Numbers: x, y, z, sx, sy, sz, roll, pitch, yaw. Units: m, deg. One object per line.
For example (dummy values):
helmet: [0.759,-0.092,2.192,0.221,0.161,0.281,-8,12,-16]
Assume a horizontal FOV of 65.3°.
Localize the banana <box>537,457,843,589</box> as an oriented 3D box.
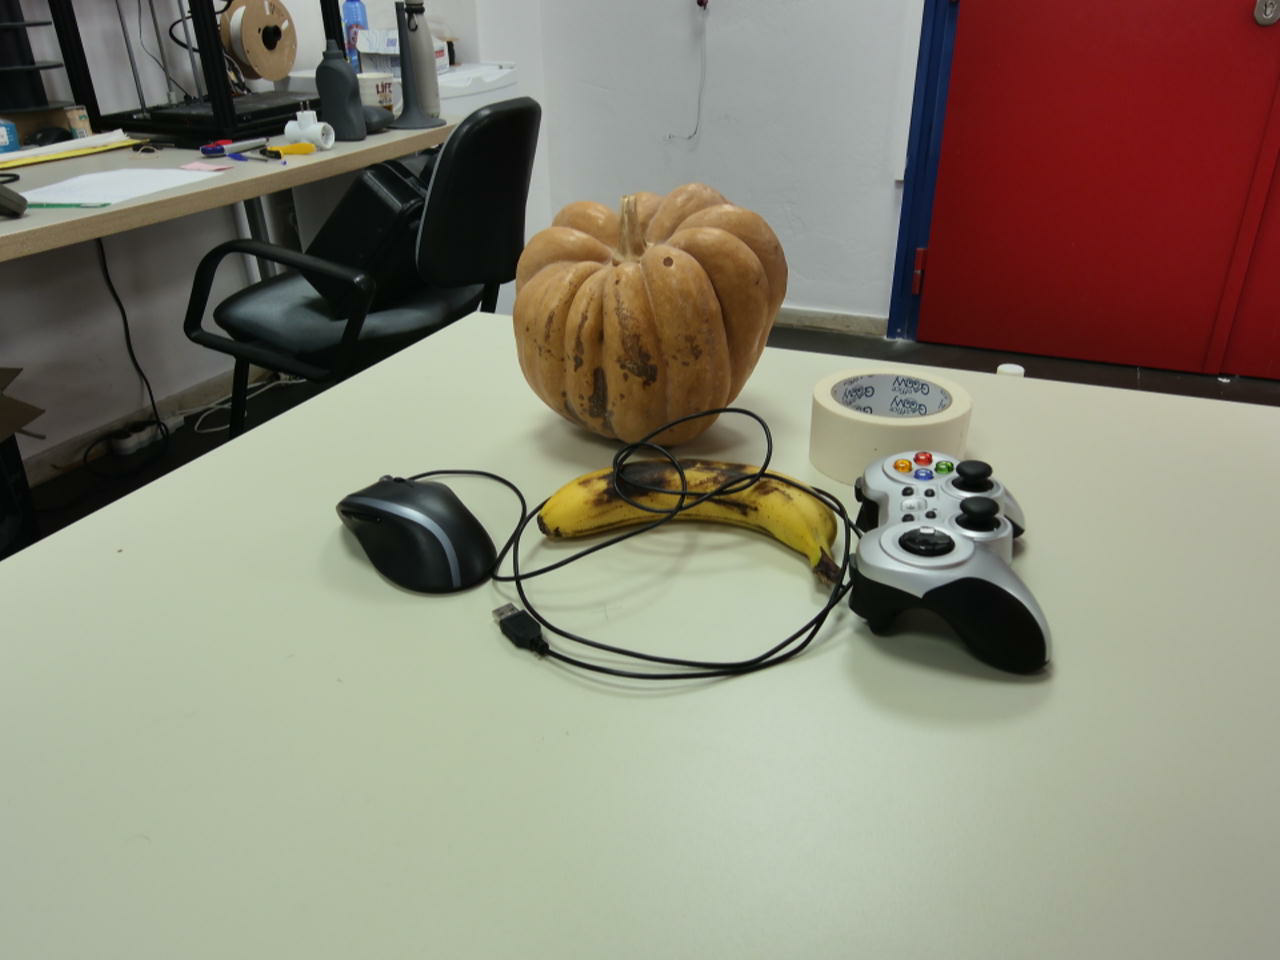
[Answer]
banana: [0.038,0.018,0.603,0.187,0.039,0.094,10,27,20]
